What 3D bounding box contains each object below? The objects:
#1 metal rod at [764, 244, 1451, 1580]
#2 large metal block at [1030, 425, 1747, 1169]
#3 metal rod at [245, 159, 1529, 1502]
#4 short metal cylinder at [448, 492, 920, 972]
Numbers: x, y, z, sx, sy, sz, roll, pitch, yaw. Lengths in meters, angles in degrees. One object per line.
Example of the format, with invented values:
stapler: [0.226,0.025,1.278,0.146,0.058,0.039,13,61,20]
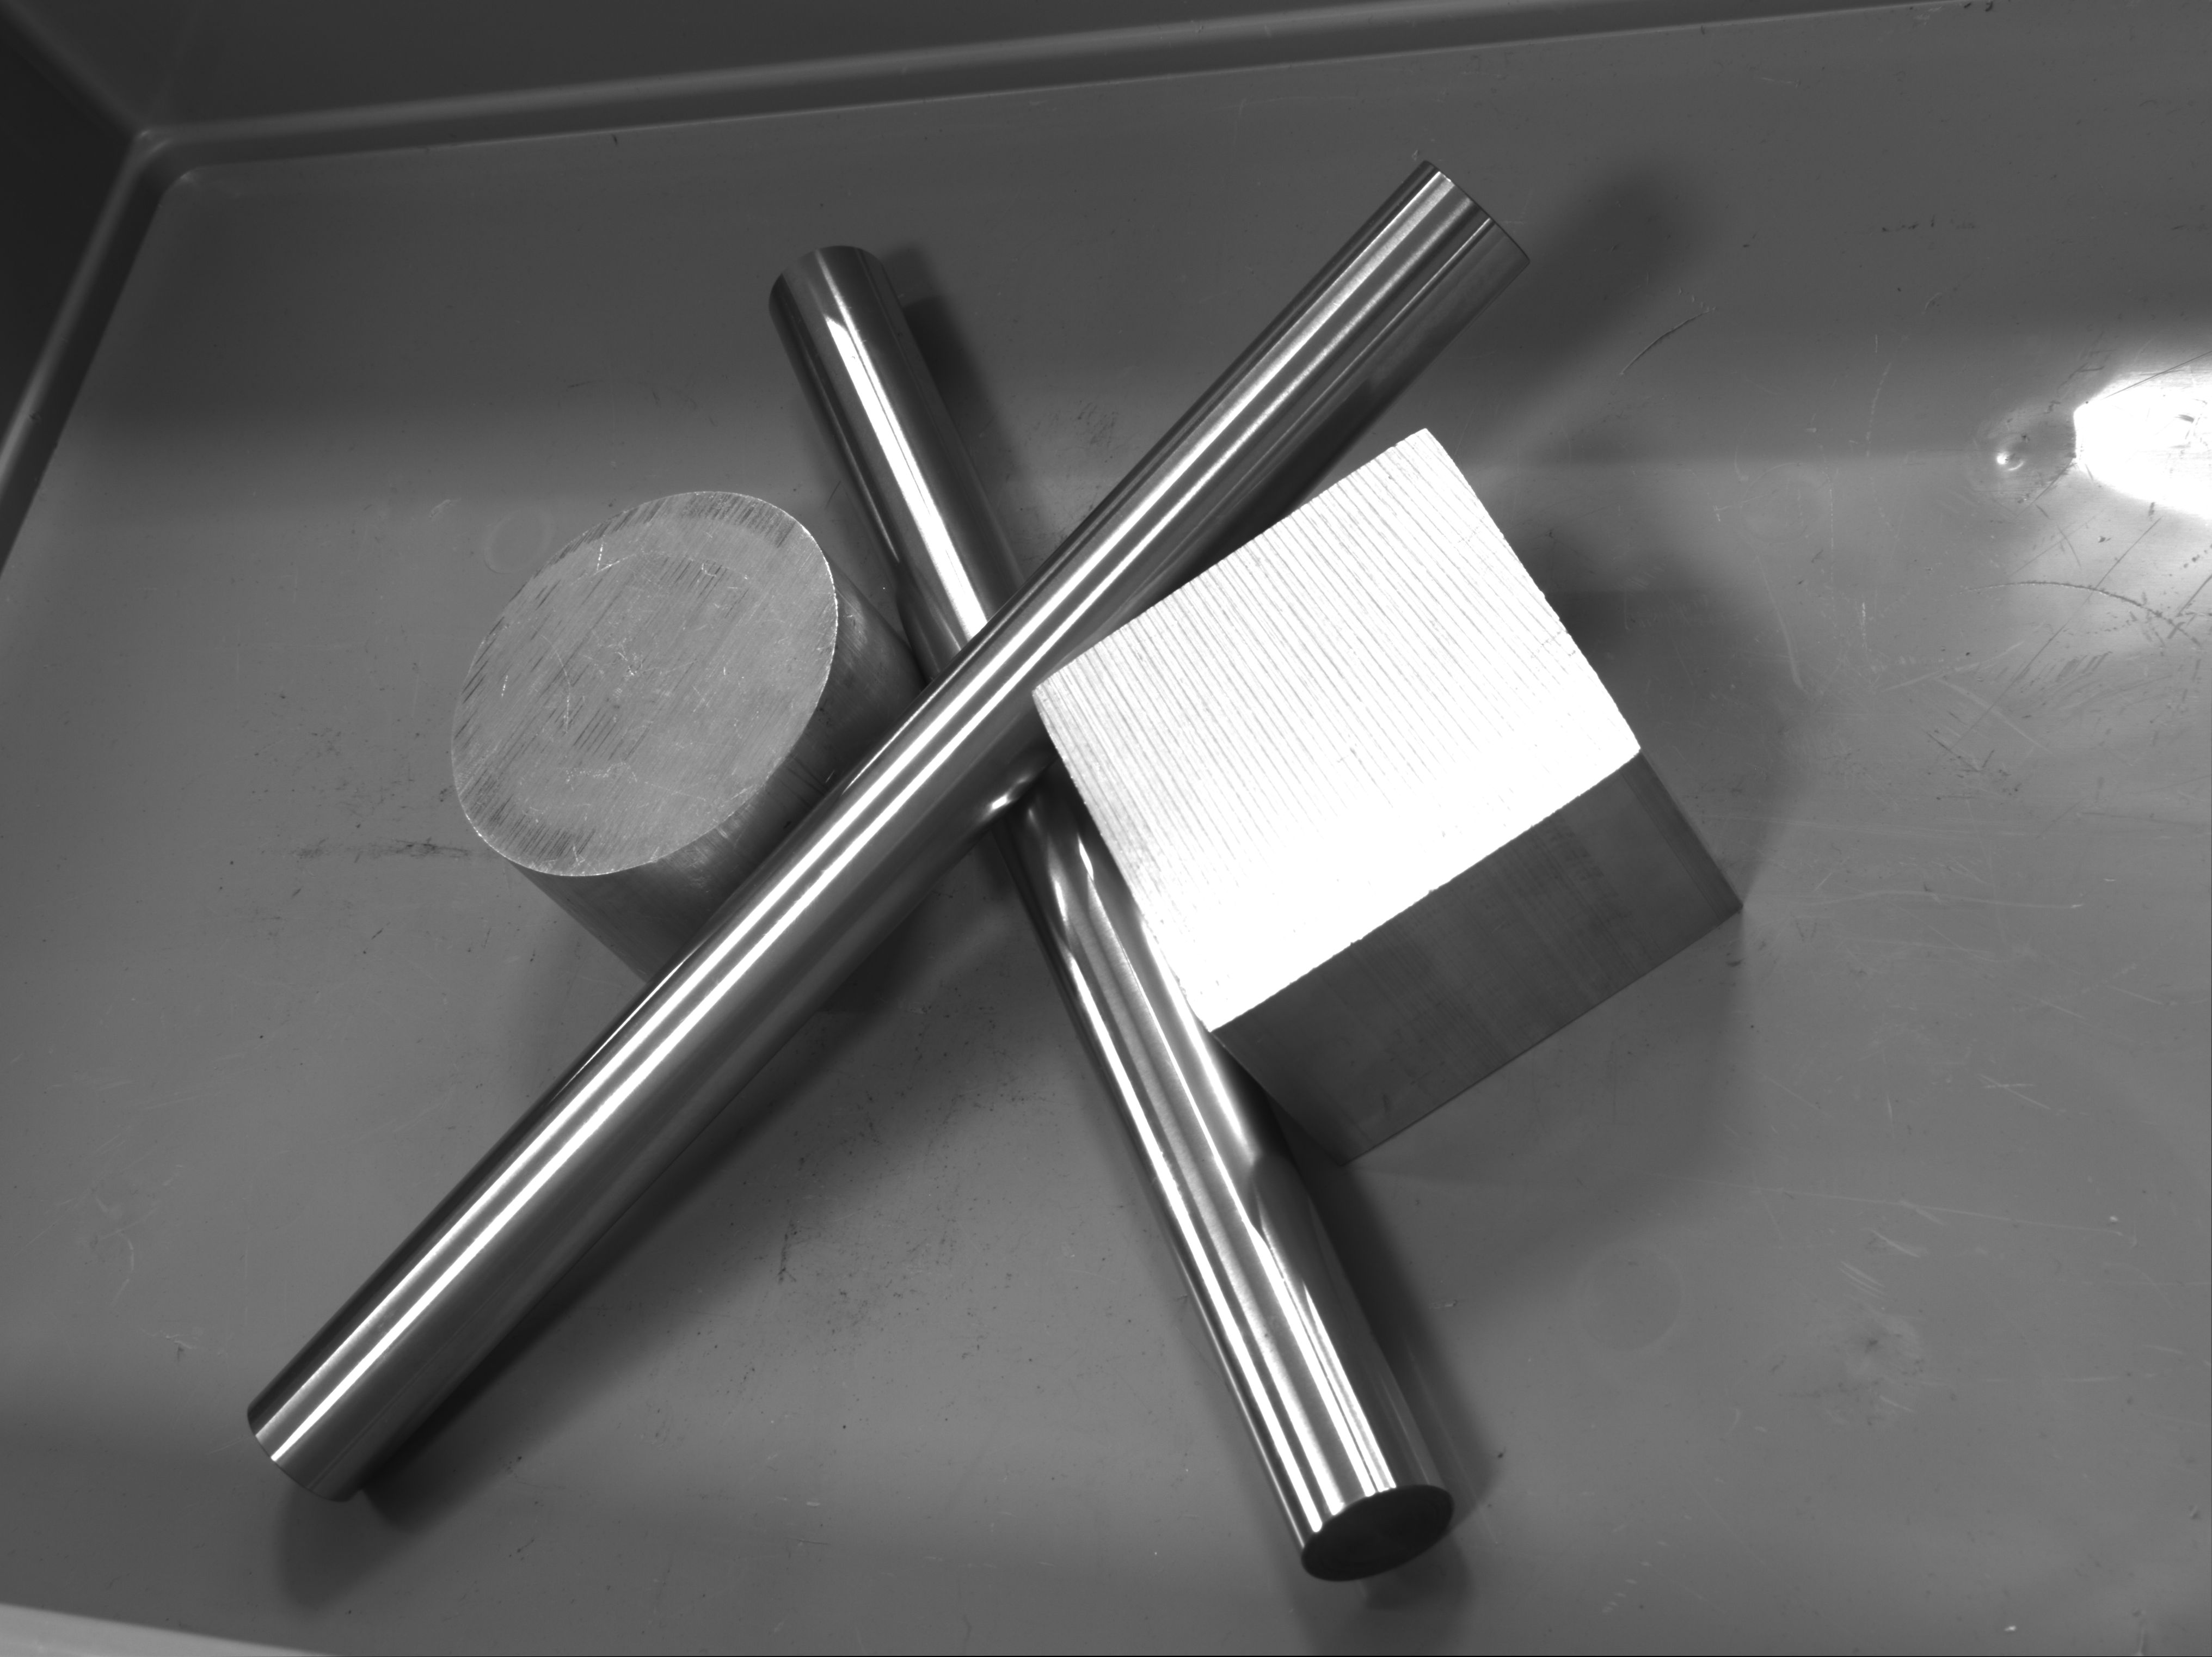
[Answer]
metal rod: [-0.008,-0.001,0.648,0.025,0.025,0.299,-31,51,8]
large metal block: [0.046,-0.005,0.605,0.080,0.050,0.080,-33,51,7]
metal rod: [-0.041,0.003,0.637,0.300,0.025,0.025,-46,50,7]
short metal cylinder: [-0.073,-0.015,0.677,0.080,0.050,0.080,-14,56,21]
